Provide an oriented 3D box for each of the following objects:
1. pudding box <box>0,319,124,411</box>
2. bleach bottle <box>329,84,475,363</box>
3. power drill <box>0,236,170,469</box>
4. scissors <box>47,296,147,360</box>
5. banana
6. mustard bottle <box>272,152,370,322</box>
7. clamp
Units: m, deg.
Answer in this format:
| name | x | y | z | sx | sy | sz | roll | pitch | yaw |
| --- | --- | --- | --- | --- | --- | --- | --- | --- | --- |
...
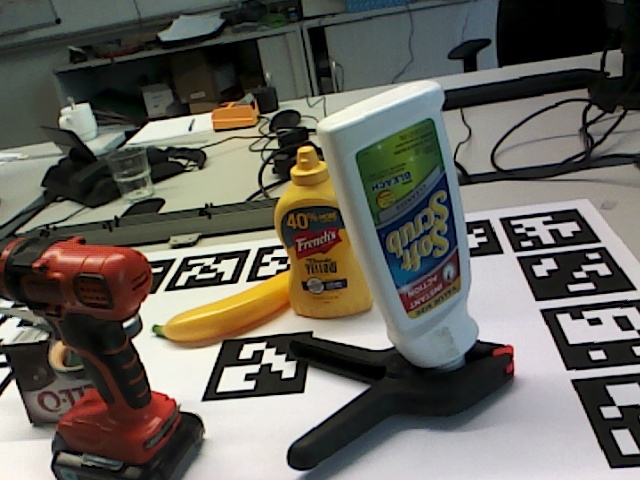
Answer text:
| name | x | y | z | sx | sy | sz | roll | pitch | yaw |
| --- | --- | --- | --- | --- | --- | --- | --- | --- | --- |
| pudding box | -0.244 | 0.122 | 0.611 | 0.114 | 0.090 | 0.038 | -3 | 19 | 12 |
| bleach bottle | 0.087 | 0.007 | 0.519 | 0.102 | 0.250 | 0.068 | -20 | 22 | -6 |
| power drill | -0.204 | 0.086 | 0.494 | 0.185 | 0.186 | 0.057 | -2 | 19 | 21 |
| scissors | -0.262 | 0.063 | 0.591 | 0.204 | 0.016 | 0.087 | 11 | 36 | 28 |
| banana | -0.098 | 0.059 | 0.735 | 0.196 | 0.039 | 0.075 | -24 | 13 | -27 |
| mustard bottle | -0.002 | -0.004 | 0.679 | 0.096 | 0.191 | 0.058 | 2 | 27 | 20 |
| clamp | 0.067 | 0.110 | 0.554 | 0.203 | 0.036 | 0.166 | -7 | 28 | 1 |
